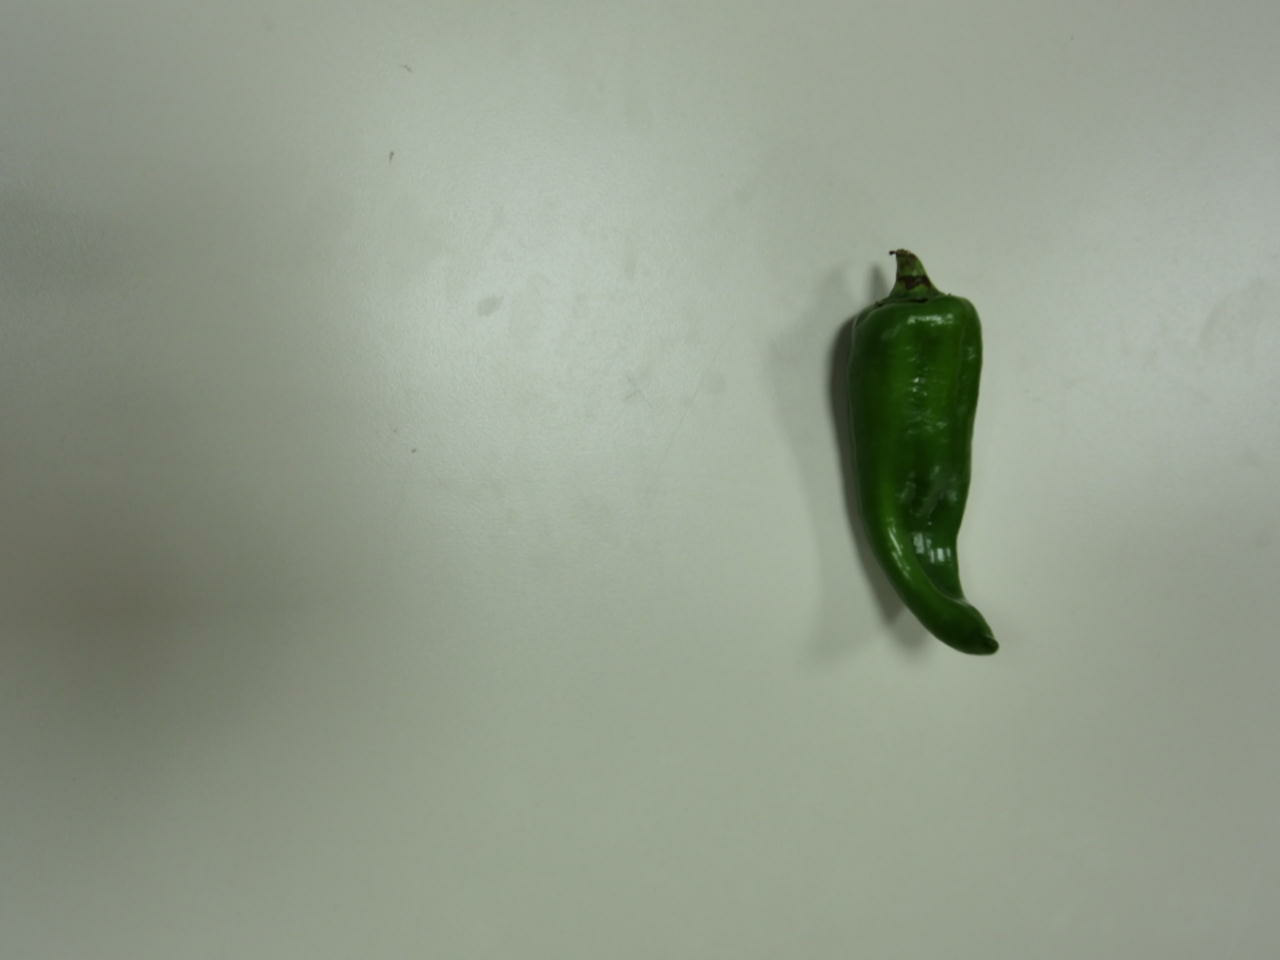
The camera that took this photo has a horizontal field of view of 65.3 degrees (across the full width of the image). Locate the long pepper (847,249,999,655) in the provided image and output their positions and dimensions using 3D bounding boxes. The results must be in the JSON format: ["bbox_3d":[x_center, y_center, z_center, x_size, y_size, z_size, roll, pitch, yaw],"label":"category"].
[{"bbox_3d":[0.121,-0.014,0.428,0.058,0.065,0.175,-2,91,-11],"label":"long pepper"}]
